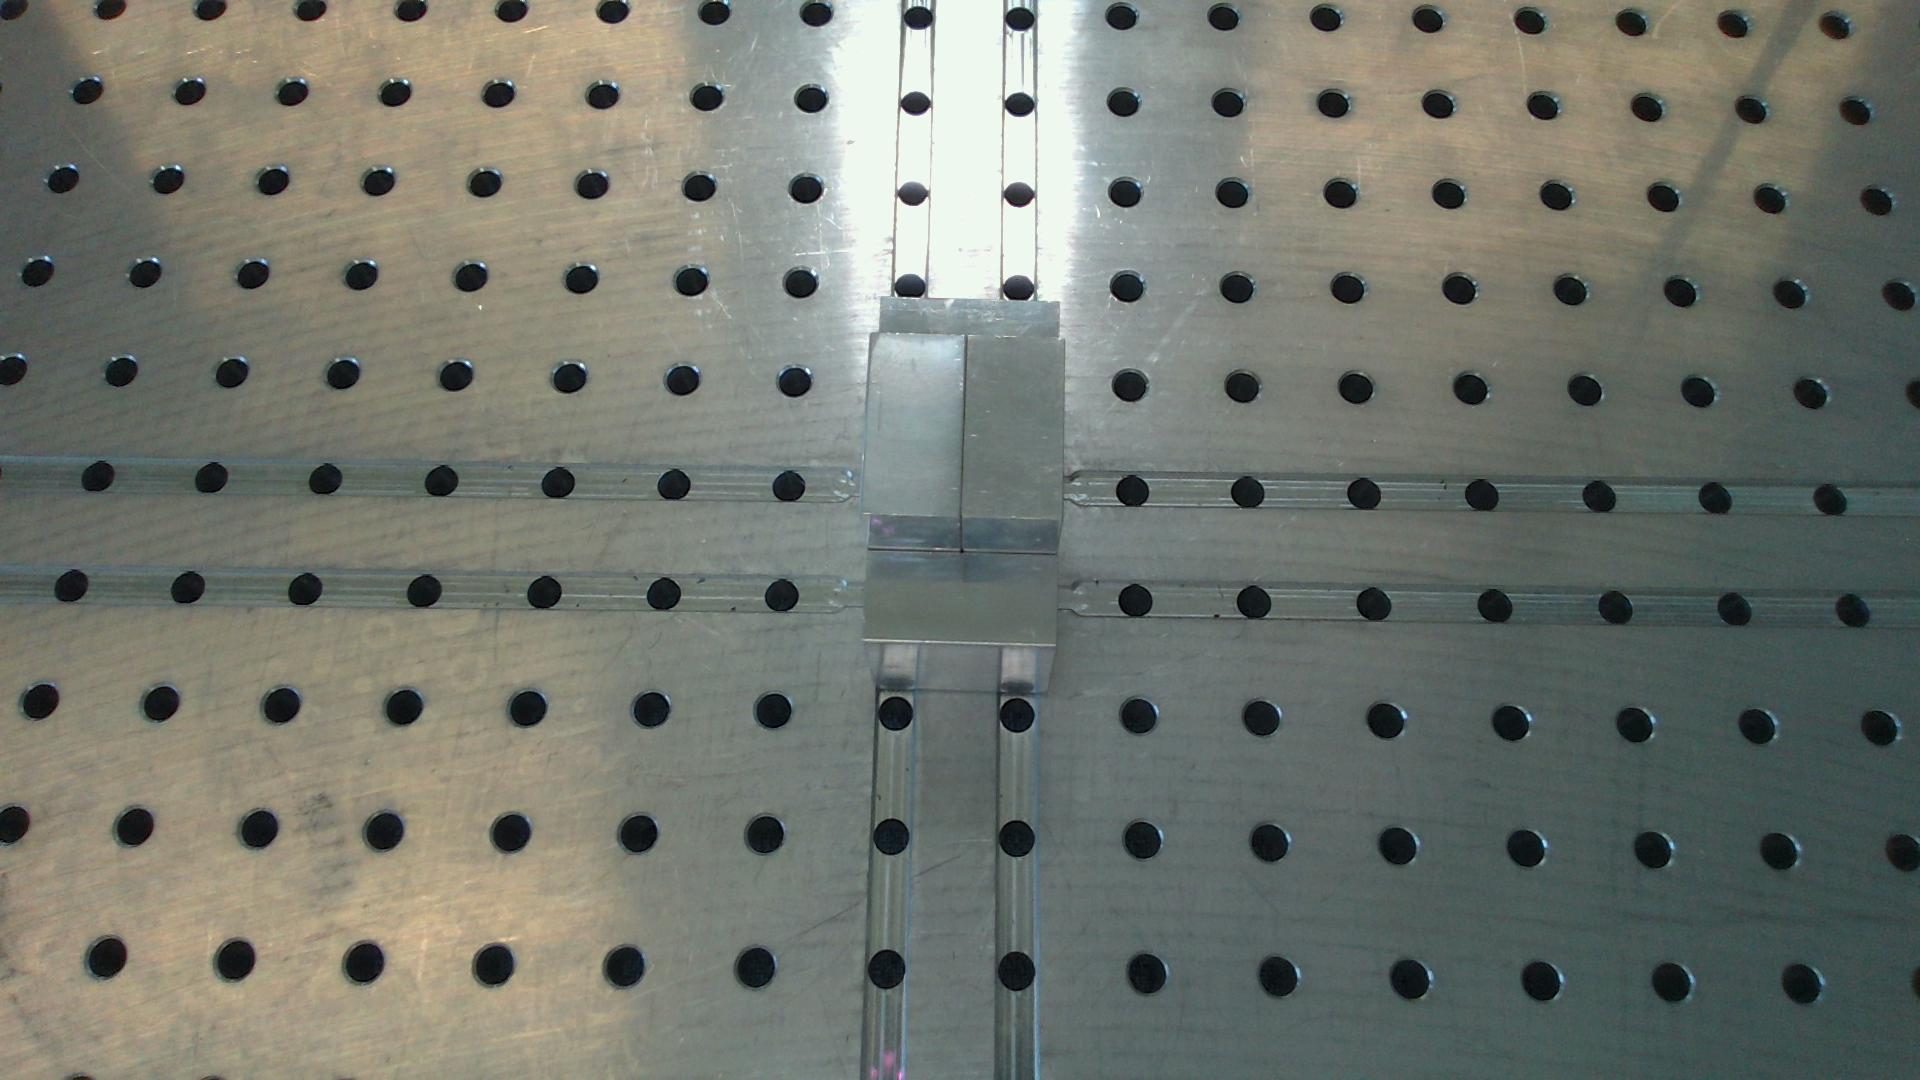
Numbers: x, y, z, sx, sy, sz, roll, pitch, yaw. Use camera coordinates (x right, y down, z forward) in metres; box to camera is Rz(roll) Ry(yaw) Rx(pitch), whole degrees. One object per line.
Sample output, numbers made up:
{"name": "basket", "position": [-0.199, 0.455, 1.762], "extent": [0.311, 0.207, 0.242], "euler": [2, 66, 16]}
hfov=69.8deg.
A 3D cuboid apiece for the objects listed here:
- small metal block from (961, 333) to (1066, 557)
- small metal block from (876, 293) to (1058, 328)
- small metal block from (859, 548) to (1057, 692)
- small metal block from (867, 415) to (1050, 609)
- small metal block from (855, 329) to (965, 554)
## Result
{"name": "small metal block", "position": [0.014, -0.020, 0.365], "extent": [0.025, 0.050, 0.050], "euler": [1, 70, 2]}
{"name": "small metal block", "position": [0.002, -0.048, 0.400], "extent": [0.050, 0.050, 0.025], "euler": [2, 70, 1]}
{"name": "small metal block", "position": [0.000, 0.023, 0.375], "extent": [0.050, 0.050, 0.025], "euler": [1, 70, 1]}
{"name": "small metal block", "position": [0.000, -0.008, 0.399], "extent": [0.050, 0.025, 0.050], "euler": [1, 70, 2]}
{"name": "small metal block", "position": [-0.012, -0.021, 0.364], "extent": [0.025, 0.050, 0.050], "euler": [2, 70, 1]}
